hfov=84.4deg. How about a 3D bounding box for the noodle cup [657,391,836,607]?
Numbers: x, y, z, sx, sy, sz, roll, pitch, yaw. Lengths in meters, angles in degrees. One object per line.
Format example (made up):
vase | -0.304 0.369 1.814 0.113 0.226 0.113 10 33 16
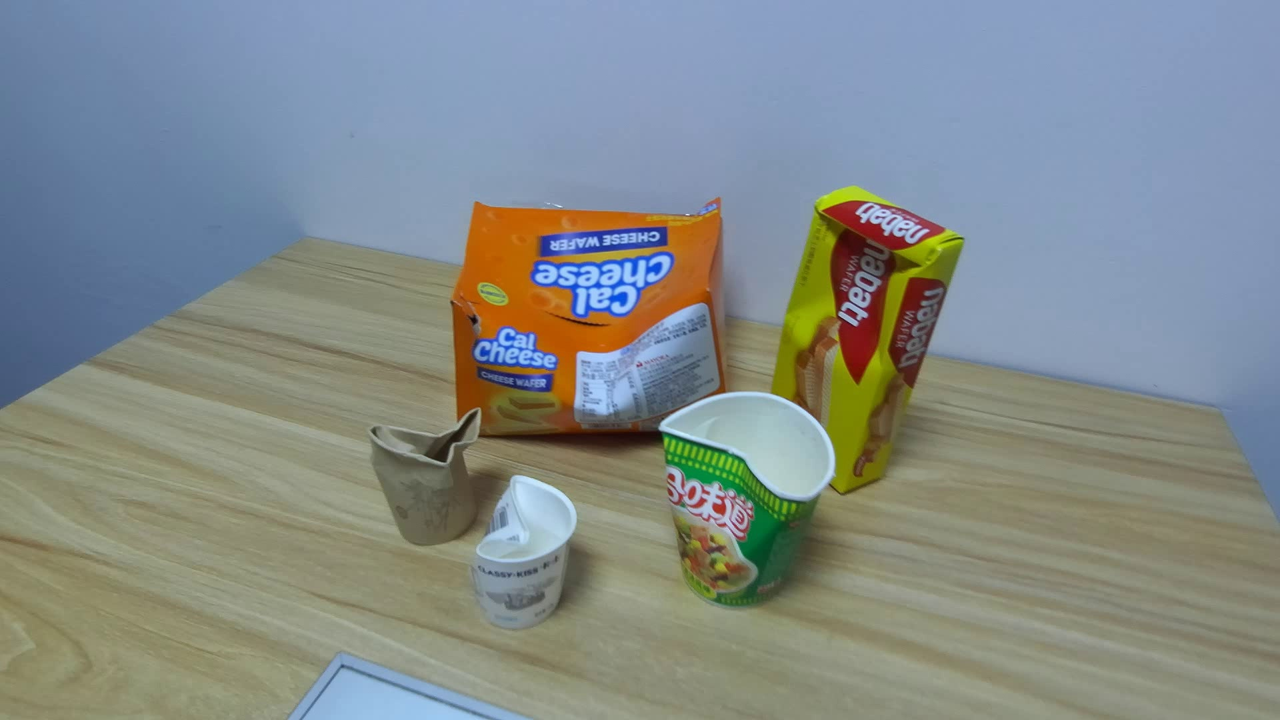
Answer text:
noodle cup | 0.066 0.090 0.428 0.087 0.109 0.093 -16 39 -21

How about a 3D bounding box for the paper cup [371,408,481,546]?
paper cup | -0.137 0.075 0.472 0.066 0.083 0.058 13 34 16

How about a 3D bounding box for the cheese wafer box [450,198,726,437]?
cheese wafer box | -0.035 -0.032 0.574 0.219 0.145 0.191 0 35 -2

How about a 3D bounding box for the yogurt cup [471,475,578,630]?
yogurt cup | -0.070 0.119 0.423 0.067 0.070 0.067 1 33 0

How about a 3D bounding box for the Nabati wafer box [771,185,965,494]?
Nabati wafer box | 0.146 -0.008 0.496 0.042 0.203 0.096 -17 40 -27
